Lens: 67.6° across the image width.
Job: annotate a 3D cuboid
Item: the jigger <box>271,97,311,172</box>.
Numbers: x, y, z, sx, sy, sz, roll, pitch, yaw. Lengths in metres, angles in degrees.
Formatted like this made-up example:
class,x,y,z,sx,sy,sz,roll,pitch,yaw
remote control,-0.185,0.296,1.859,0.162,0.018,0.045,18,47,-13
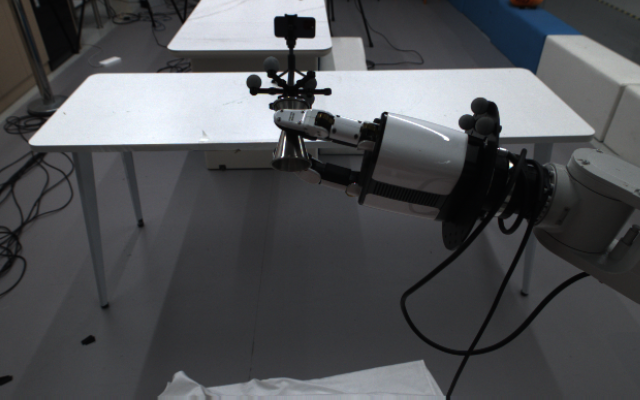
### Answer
class,x,y,z,sx,sy,sz,roll,pitch,yaw
jigger,-0.029,-0.069,0.512,0.043,0.043,0.071,0,75,-3
